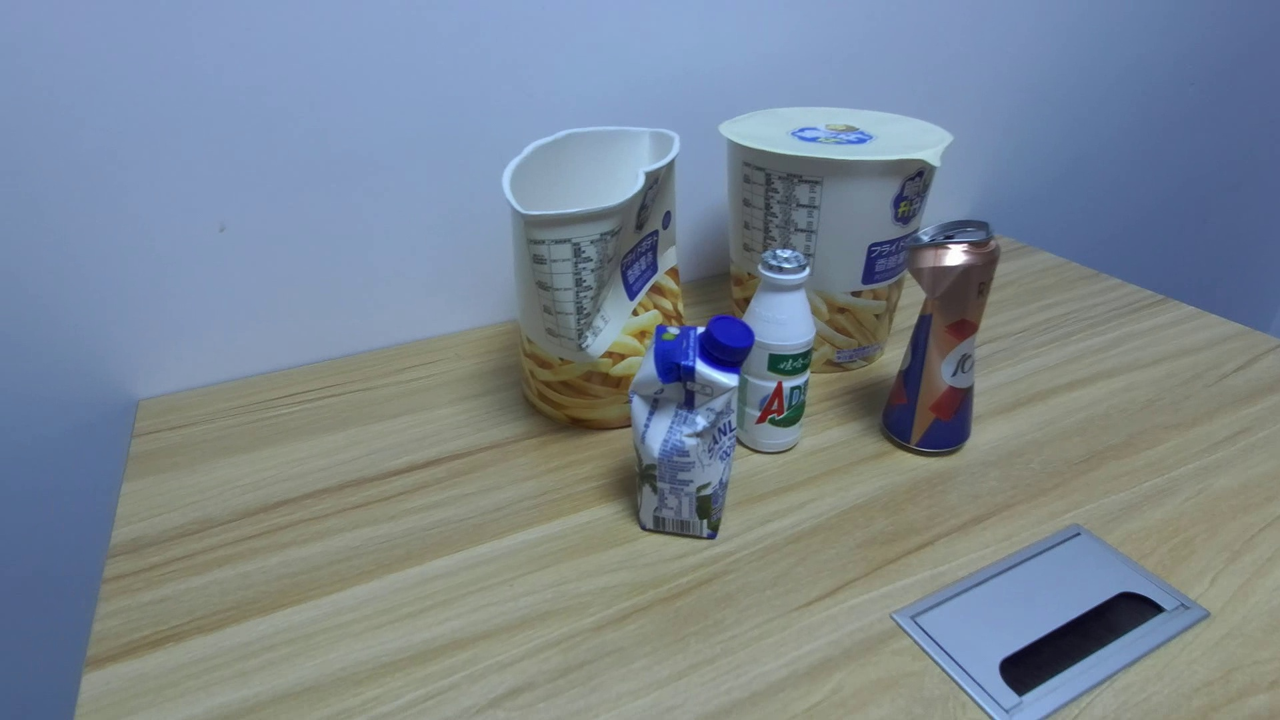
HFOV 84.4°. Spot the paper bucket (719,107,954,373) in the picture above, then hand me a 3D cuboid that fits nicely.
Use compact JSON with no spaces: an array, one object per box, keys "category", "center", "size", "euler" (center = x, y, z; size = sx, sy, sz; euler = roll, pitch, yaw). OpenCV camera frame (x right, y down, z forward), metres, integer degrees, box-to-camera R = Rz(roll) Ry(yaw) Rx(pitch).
[{"category":"paper bucket","center":[0.161,-0.108,0.630],"size":[0.198,0.195,0.198],"euler":[-1,31,1]}]

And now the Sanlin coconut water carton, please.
[{"category":"Sanlin coconut water carton","center":[0.029,0.039,0.430],"size":[0.070,0.144,0.061],"euler":[6,33,8]}]

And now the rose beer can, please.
[{"category":"rose beer can","center":[0.216,-0.013,0.506],"size":[0.070,0.168,0.069],"euler":[-9,27,-9]}]

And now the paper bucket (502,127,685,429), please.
[{"category":"paper bucket","center":[-0.027,-0.067,0.559],"size":[0.148,0.199,0.217],"euler":[-7,31,-11]}]

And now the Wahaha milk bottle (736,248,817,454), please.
[{"category":"Wahaha milk bottle","center":[0.096,-0.004,0.502],"size":[0.053,0.147,0.053],"euler":[1,30,0]}]
